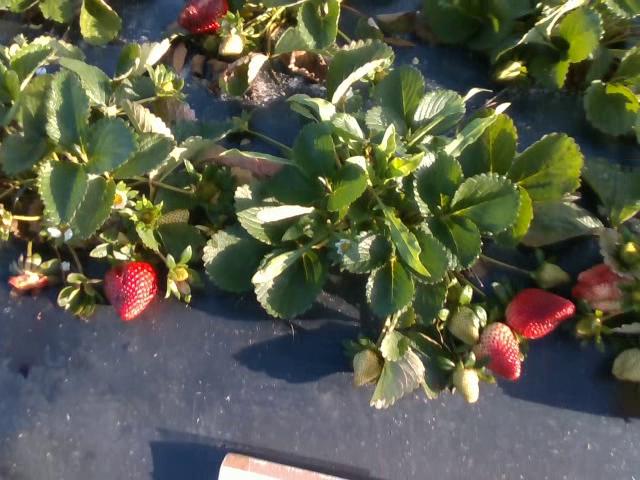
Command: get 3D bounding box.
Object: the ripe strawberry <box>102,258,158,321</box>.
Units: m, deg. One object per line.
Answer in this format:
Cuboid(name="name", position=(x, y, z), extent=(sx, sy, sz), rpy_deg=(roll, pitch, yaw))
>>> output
Cuboid(name="ripe strawberry", position=(-0.158, 0.046, 0.488), extent=(0.052, 0.052, 0.041), rpy_deg=(-18, -48, 10))
